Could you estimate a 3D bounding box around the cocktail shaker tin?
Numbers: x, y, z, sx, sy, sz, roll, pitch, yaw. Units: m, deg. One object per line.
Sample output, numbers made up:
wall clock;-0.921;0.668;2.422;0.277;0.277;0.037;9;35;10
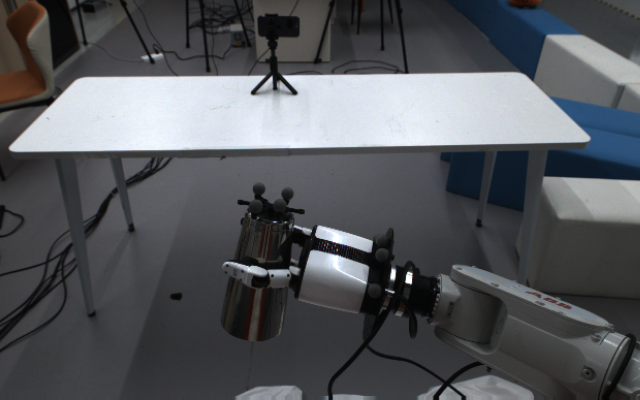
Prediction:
cocktail shaker tin;-0.080;0.096;0.668;0.093;0.170;0.093;10;19;-4
